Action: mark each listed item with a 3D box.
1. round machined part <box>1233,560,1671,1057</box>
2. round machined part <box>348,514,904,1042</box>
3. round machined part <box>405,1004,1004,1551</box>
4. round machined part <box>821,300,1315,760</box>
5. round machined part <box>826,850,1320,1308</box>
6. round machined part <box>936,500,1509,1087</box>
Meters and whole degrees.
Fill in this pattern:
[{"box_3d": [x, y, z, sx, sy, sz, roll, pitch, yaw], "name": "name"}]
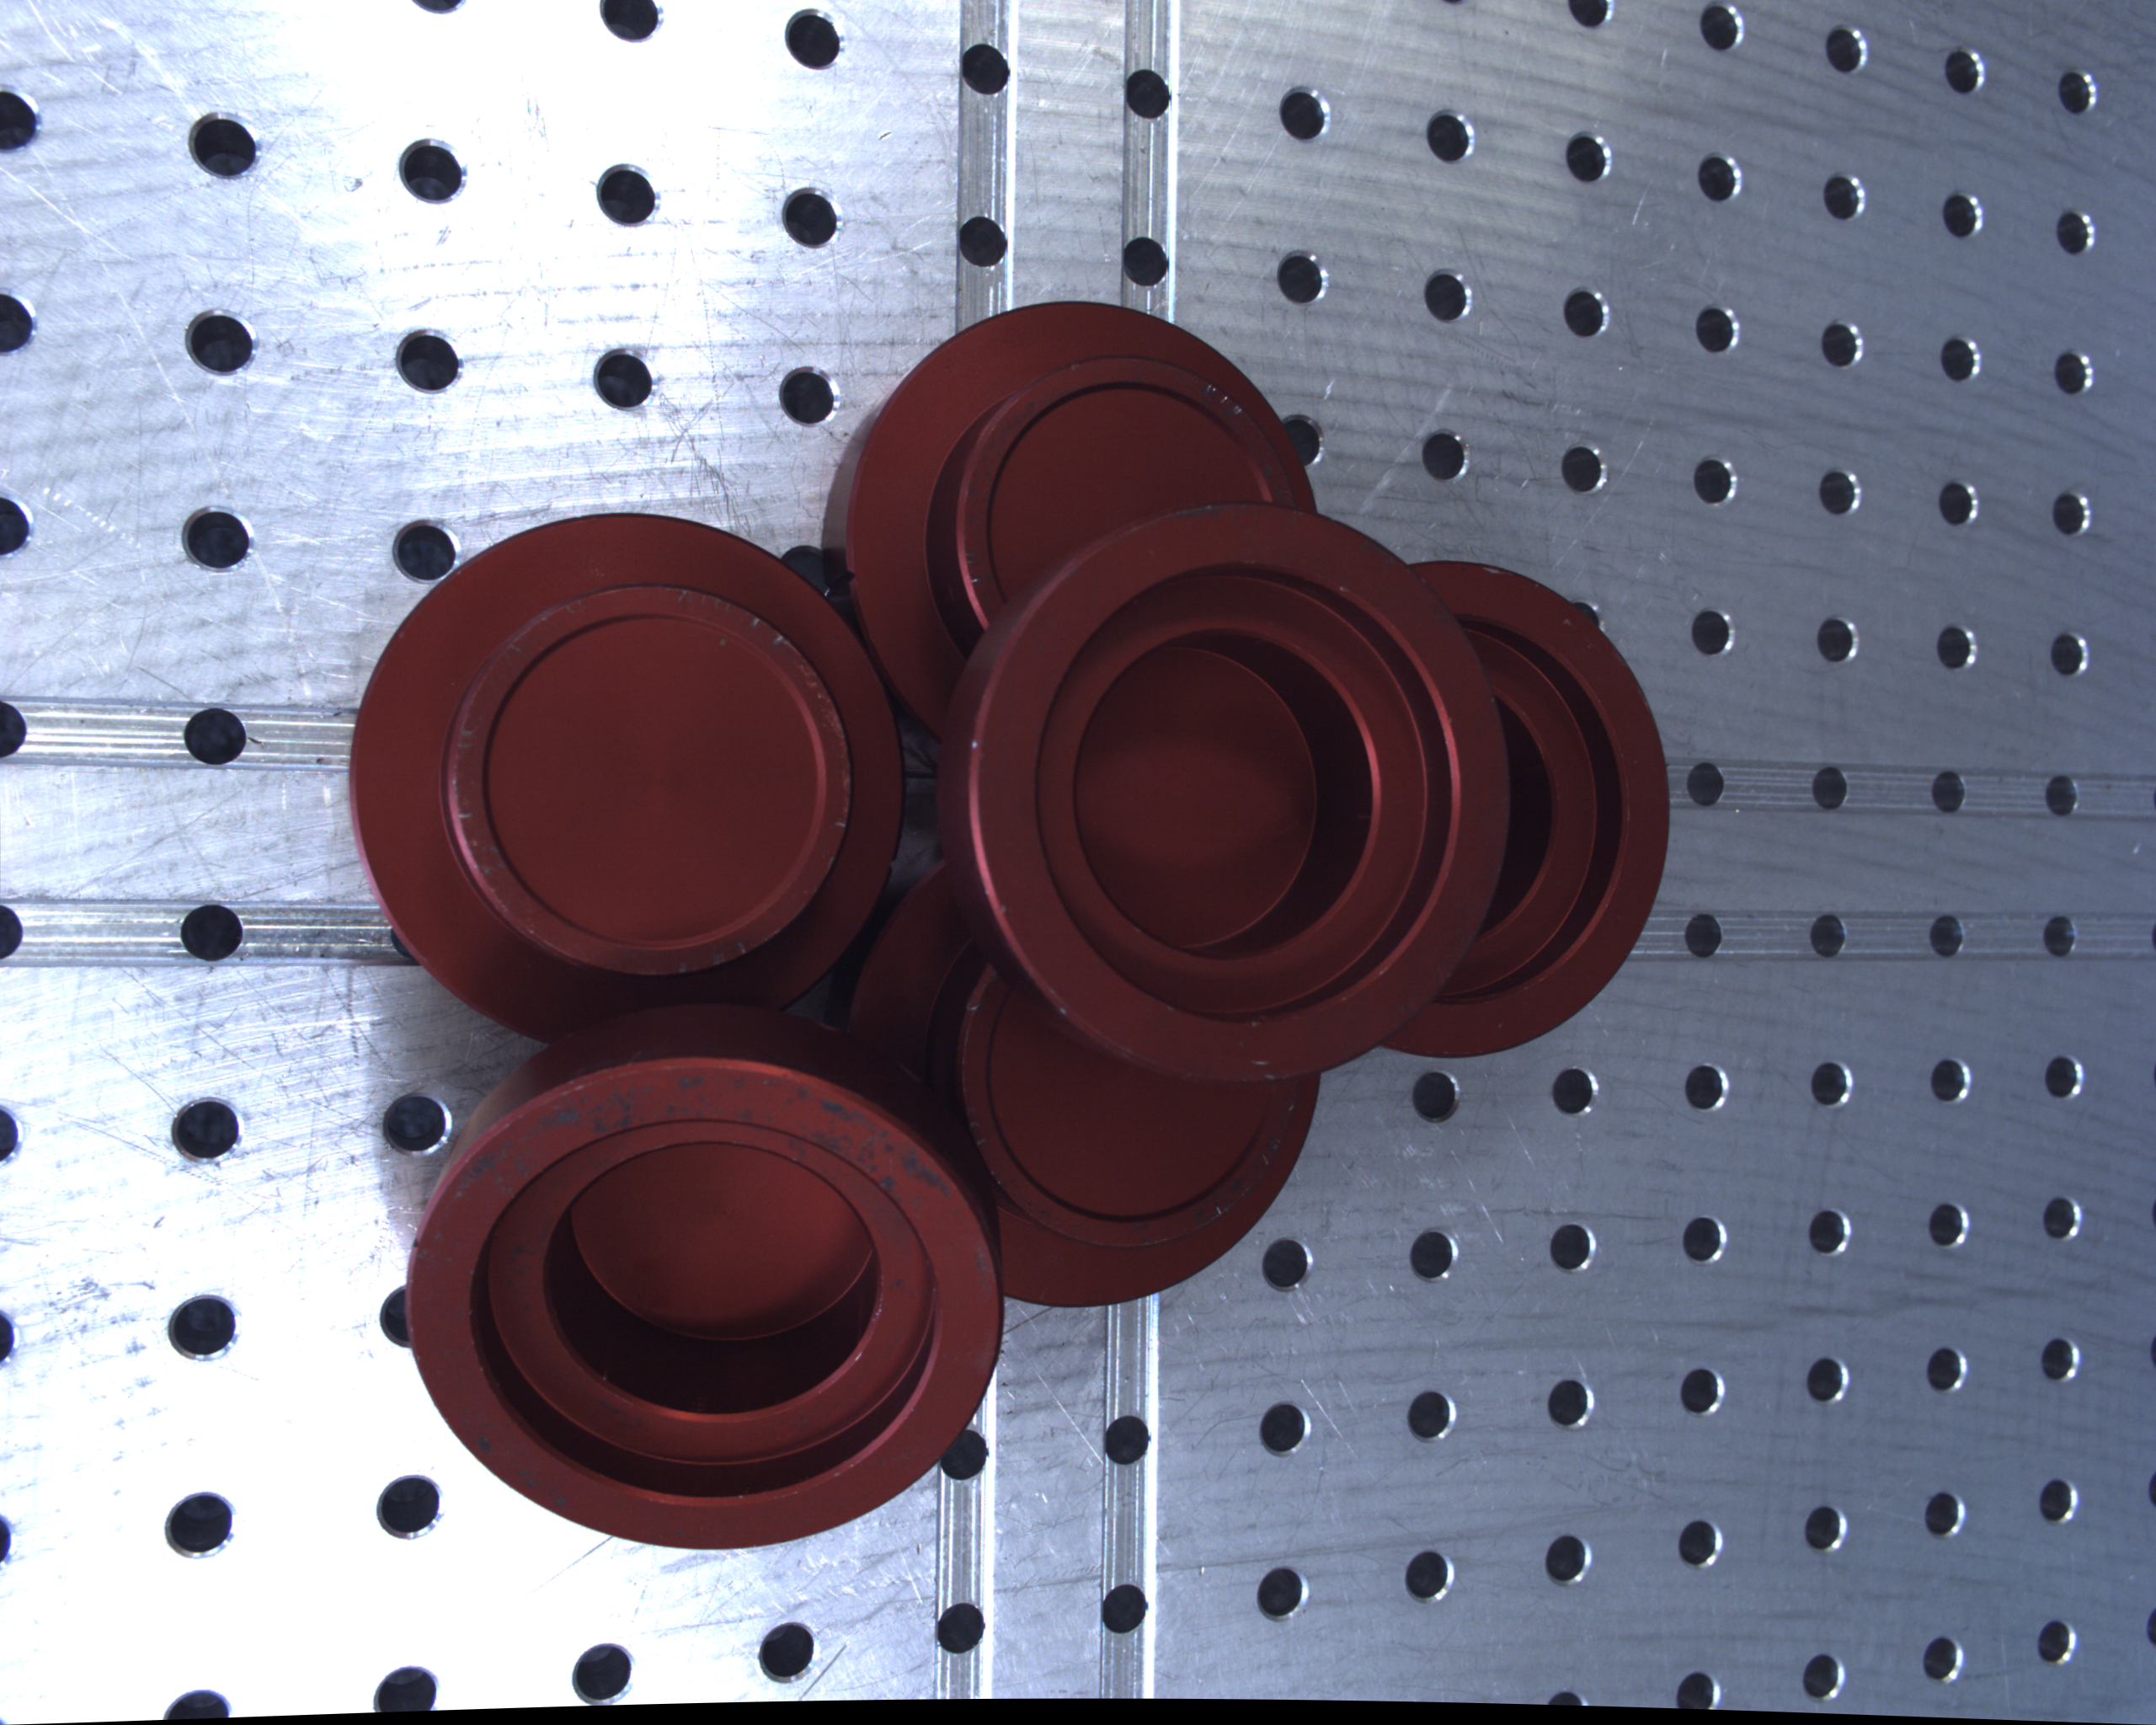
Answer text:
[{"box_3d": [0.068, -0.011, 0.428, 0.099, 0.042, 0.097, 0, 90, -20], "name": "round machined part"}, {"box_3d": [-0.079, -0.014, 0.374, 0.099, 0.042, 0.097, 0, 90, -20], "name": "round machined part"}, {"box_3d": [-0.063, 0.068, 0.366, 0.099, 0.042, 0.097, -2, 112, -4], "name": "round machined part"}, {"box_3d": [0.003, -0.060, 0.404, 0.099, 0.042, 0.097, 0, 90, -20], "name": "round machined part"}, {"box_3d": [0.003, 0.038, 0.404, 0.099, 0.042, 0.097, 0, 90, -20], "name": "round machined part"}, {"box_3d": [0.022, -0.012, 0.366, 0.099, 0.042, 0.097, 0, 90, -20], "name": "round machined part"}]
